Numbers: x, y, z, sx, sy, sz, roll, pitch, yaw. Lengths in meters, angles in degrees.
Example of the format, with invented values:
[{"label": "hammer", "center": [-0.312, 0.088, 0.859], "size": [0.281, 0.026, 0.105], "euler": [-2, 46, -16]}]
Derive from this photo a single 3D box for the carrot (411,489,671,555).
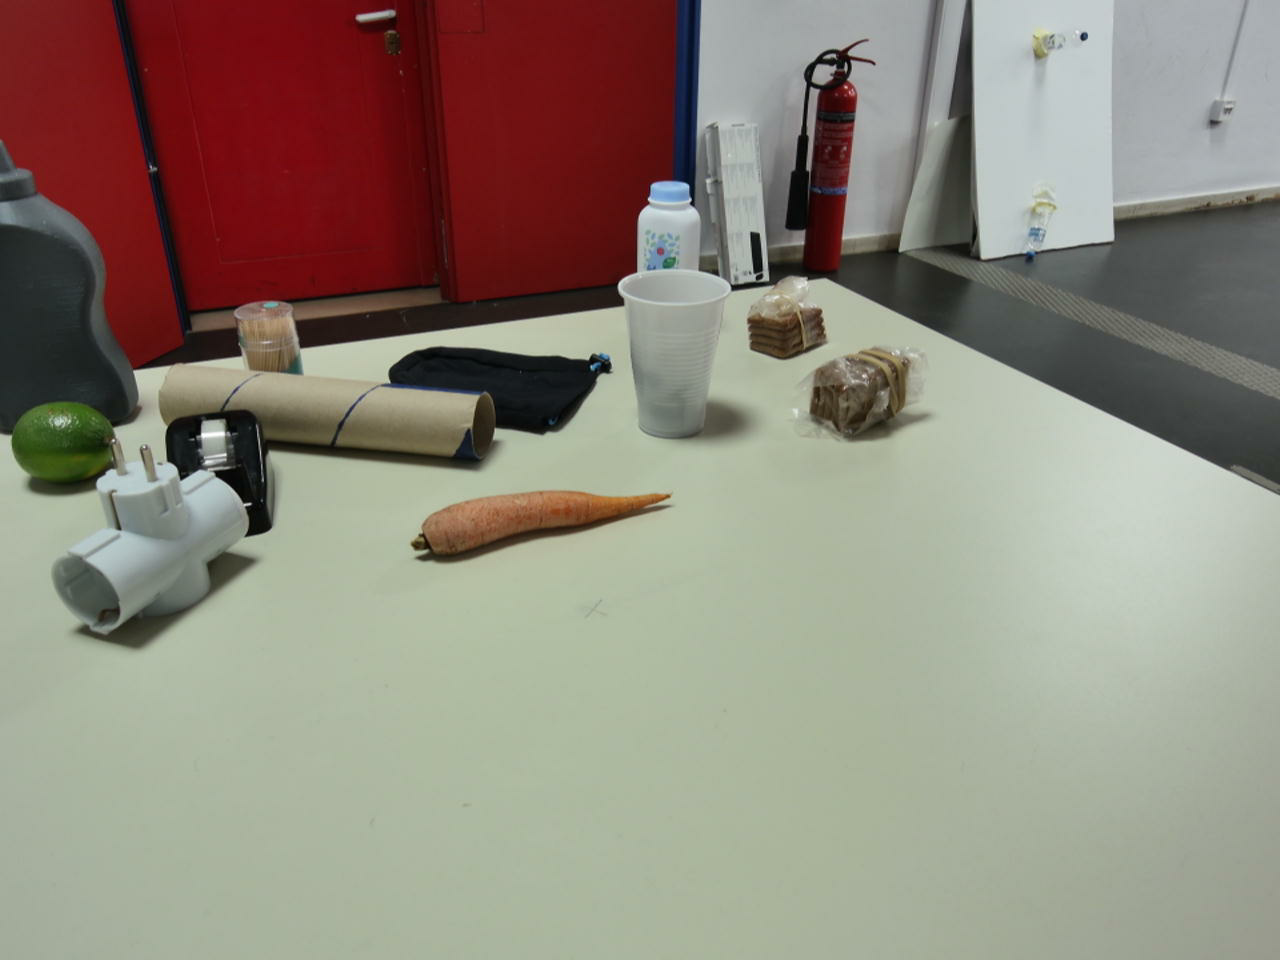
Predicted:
[{"label": "carrot", "center": [-0.057, 0.018, 0.605], "size": [0.163, 0.029, 0.031], "euler": [-11, 29, -22]}]
